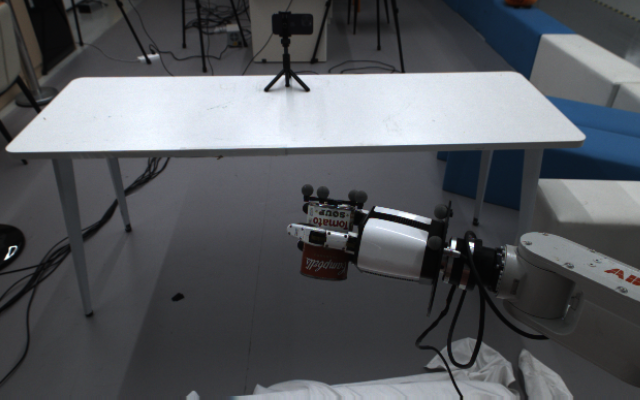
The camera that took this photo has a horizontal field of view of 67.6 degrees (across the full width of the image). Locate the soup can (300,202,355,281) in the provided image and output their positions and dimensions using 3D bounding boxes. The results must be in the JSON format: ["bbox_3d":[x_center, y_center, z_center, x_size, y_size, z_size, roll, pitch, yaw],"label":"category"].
[{"bbox_3d":[0.012,0.056,0.678,0.067,0.101,0.067,7,3,0],"label":"soup can"}]
